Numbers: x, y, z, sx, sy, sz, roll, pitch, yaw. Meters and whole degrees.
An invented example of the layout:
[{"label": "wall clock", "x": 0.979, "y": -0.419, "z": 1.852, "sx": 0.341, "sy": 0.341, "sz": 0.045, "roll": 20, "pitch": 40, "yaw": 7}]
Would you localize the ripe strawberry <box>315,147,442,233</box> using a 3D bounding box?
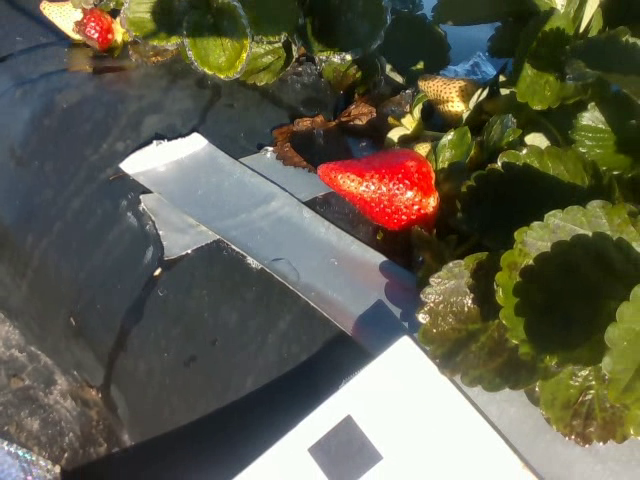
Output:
[{"label": "ripe strawberry", "x": 0.028, "y": -0.027, "z": 0.327, "sx": 0.065, "sy": 0.062, "sz": 0.057, "roll": 9, "pitch": -27, "yaw": -30}]
